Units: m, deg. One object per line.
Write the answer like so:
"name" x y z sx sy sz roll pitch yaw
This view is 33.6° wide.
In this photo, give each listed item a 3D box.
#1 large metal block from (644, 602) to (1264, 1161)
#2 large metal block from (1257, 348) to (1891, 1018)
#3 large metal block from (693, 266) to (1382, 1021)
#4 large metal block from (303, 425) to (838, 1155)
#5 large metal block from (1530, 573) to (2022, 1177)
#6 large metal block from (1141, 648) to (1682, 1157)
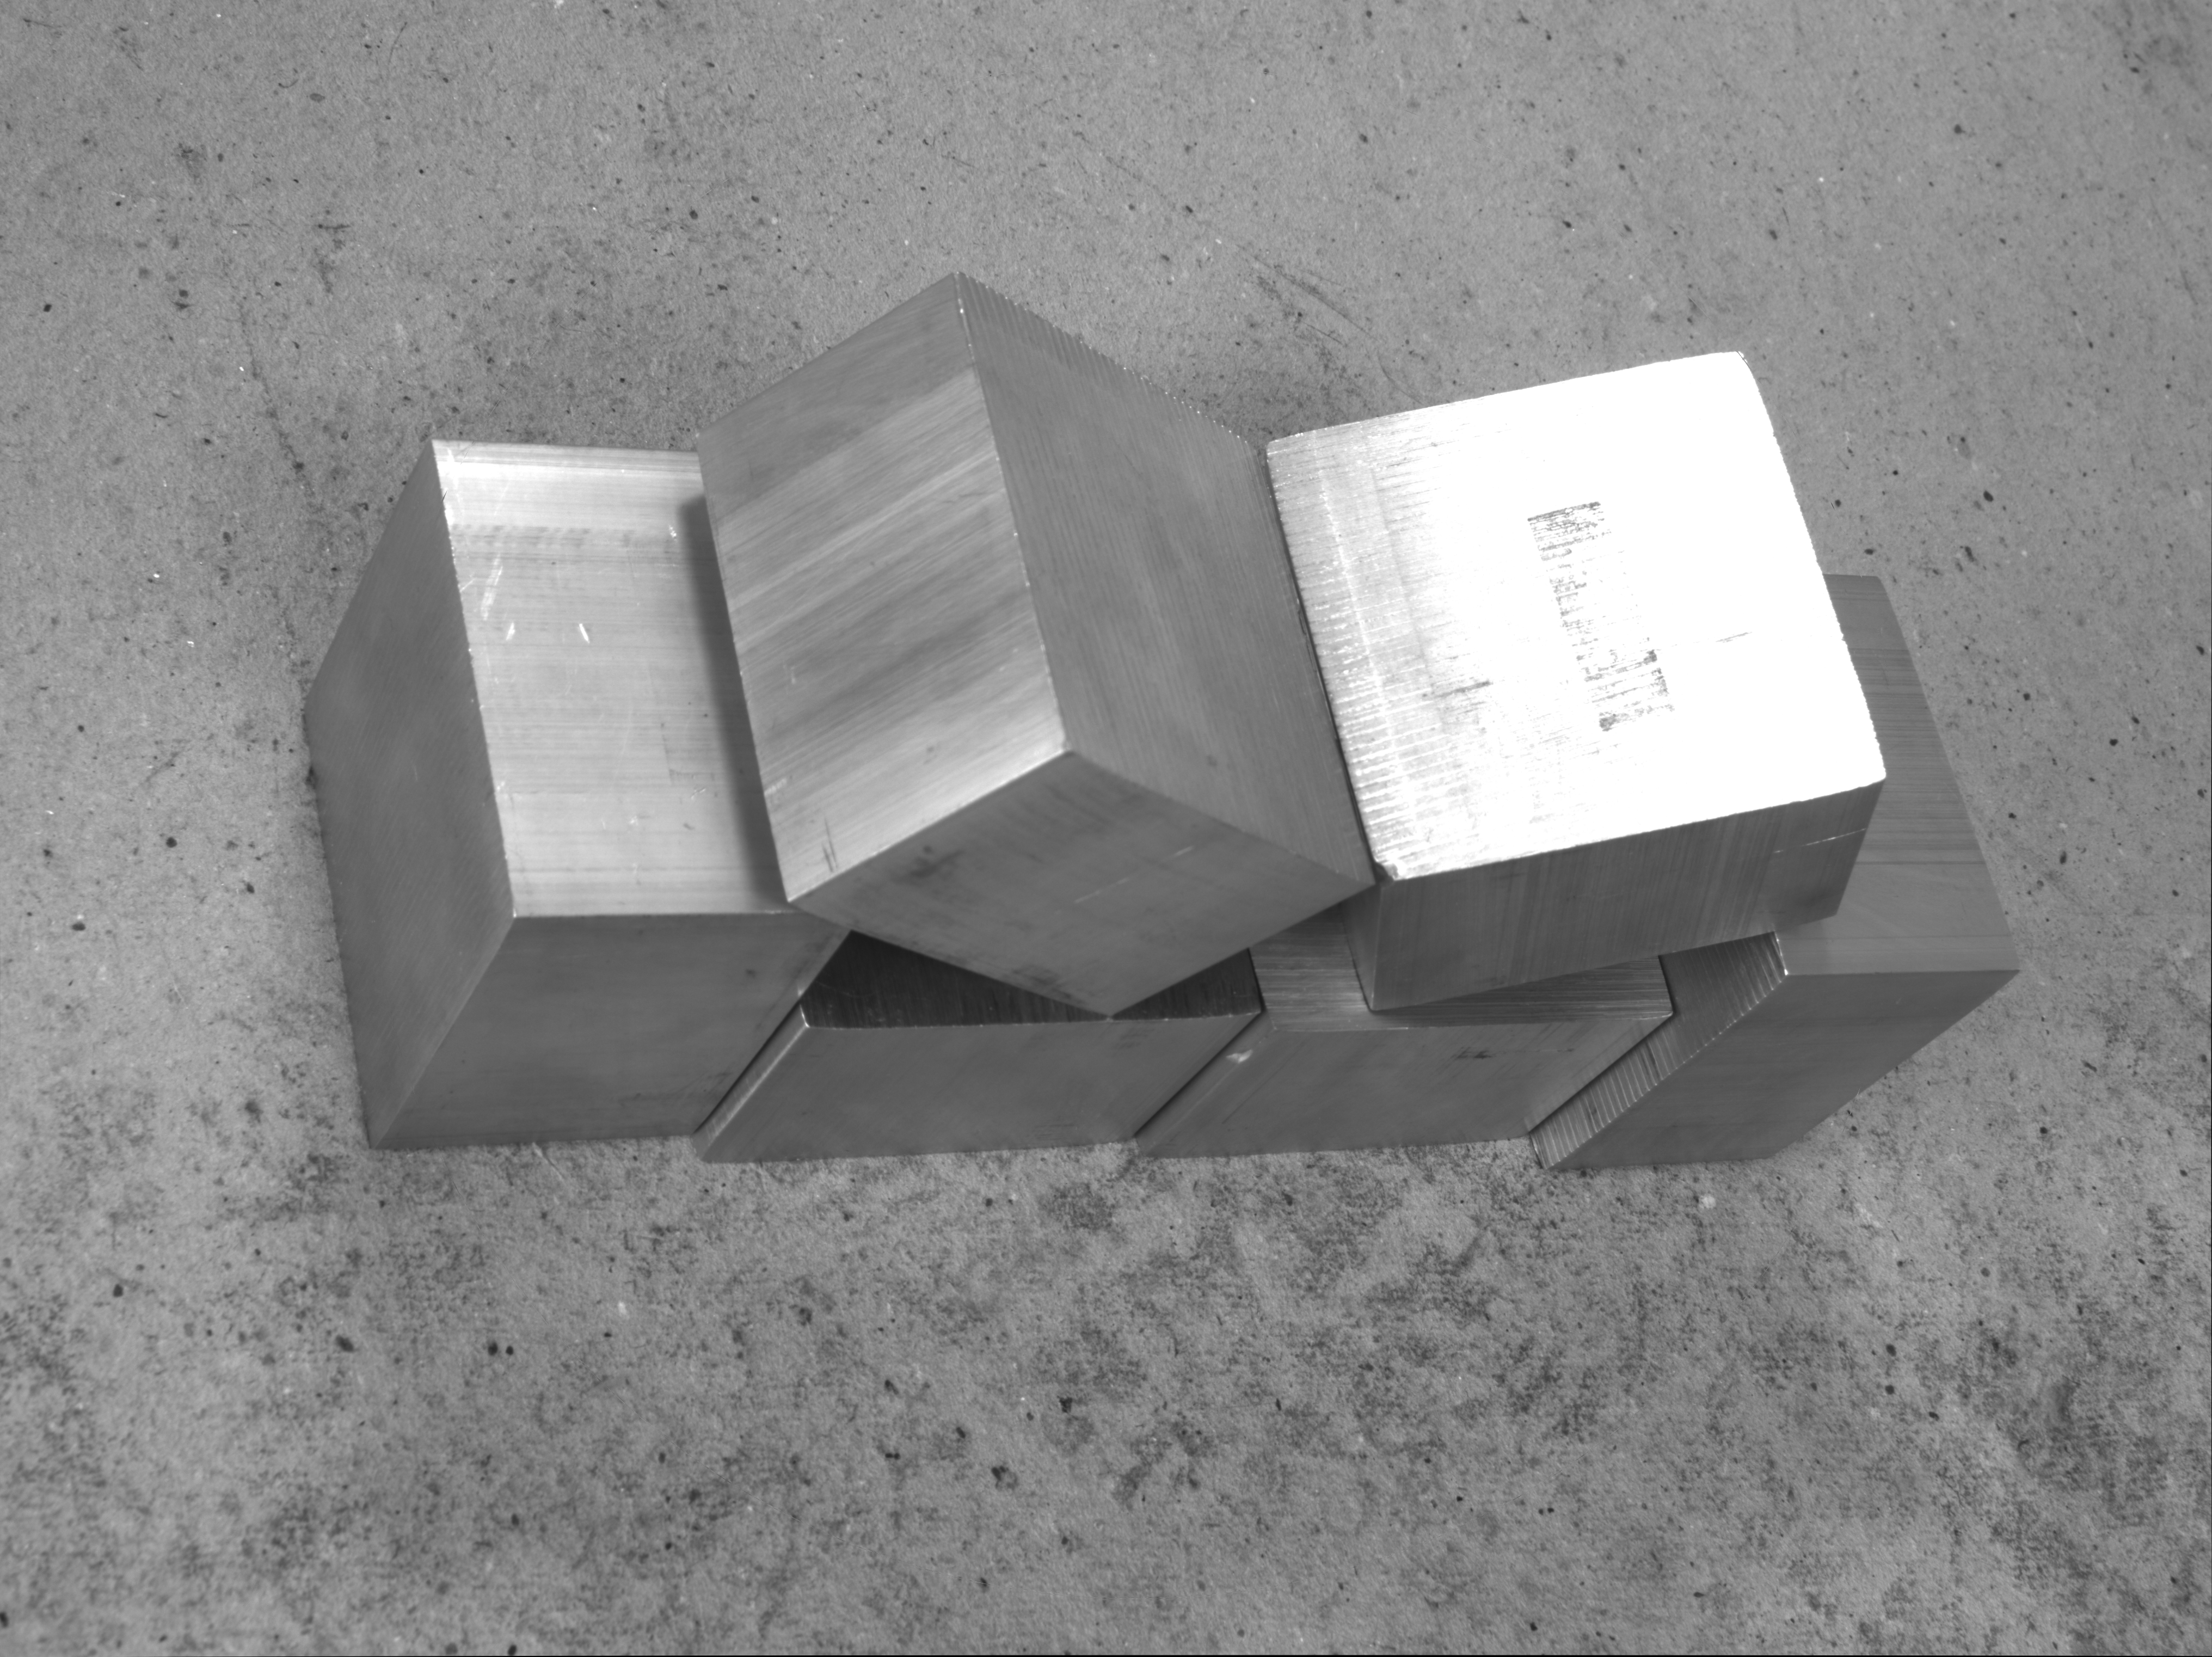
"large metal block" -0.029 0.006 0.603 0.080 0.050 0.080 0 61 -28
"large metal block" 0.072 -0.023 0.592 0.080 0.050 0.080 -11 64 -4
"large metal block" -0.010 -0.025 0.548 0.080 0.050 0.080 23 46 -52
"large metal block" -0.083 -0.005 0.561 0.050 0.080 0.080 -1 61 -28
"large metal block" 0.108 0.009 0.658 0.050 0.080 0.080 0 61 -29
"large metal block" 0.043 0.009 0.639 0.080 0.050 0.080 0 61 -28
